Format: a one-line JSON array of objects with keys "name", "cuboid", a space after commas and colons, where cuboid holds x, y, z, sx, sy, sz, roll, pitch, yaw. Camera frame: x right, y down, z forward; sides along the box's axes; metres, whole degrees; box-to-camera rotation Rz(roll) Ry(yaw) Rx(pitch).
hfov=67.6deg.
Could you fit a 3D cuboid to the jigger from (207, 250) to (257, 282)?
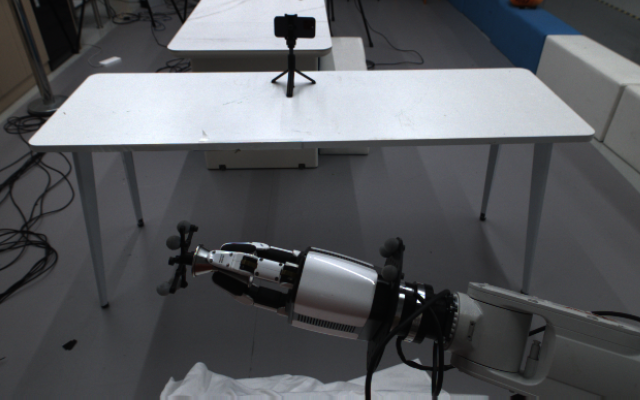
[{"name": "jigger", "cuboid": [-0.105, 0.074, 0.574, 0.071, 0.043, 0.043, 9, 35, 2]}]
